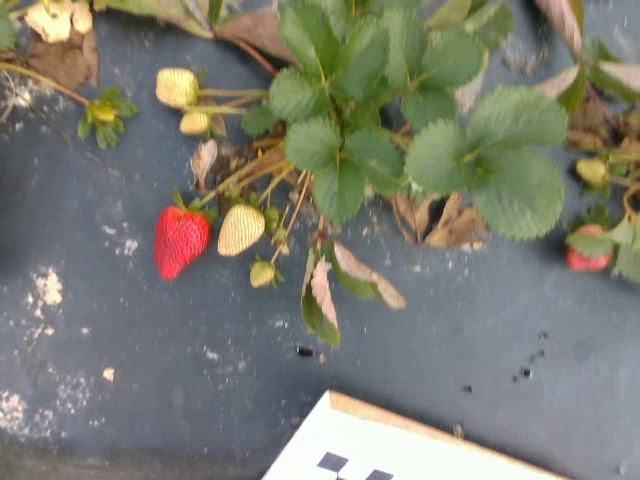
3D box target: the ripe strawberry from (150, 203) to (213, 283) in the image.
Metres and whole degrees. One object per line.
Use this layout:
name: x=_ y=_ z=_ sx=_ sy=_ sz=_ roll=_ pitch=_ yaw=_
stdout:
ripe strawberry: x=-0.104 y=0.002 z=0.491 sx=0.050 sy=0.059 sz=0.034 roll=14 pitch=-18 yaw=-10
